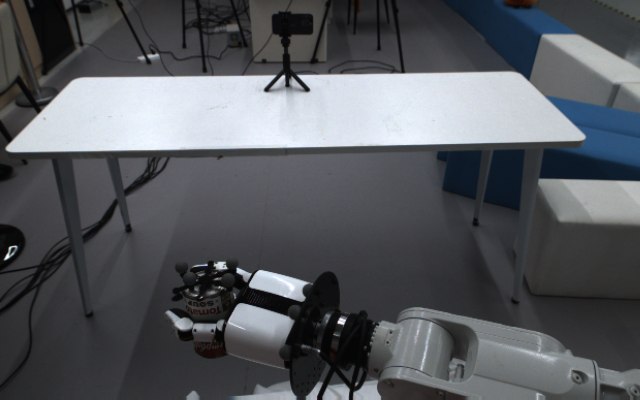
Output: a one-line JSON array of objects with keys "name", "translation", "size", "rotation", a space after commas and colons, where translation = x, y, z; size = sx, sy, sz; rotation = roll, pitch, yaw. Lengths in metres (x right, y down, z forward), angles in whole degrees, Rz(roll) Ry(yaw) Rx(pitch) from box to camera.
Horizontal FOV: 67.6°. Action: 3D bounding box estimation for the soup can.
[{"name": "soup can", "translation": [-0.148, 0.156, 0.665], "size": [0.067, 0.101, 0.067], "rotation": [-4, 25, 2]}]
